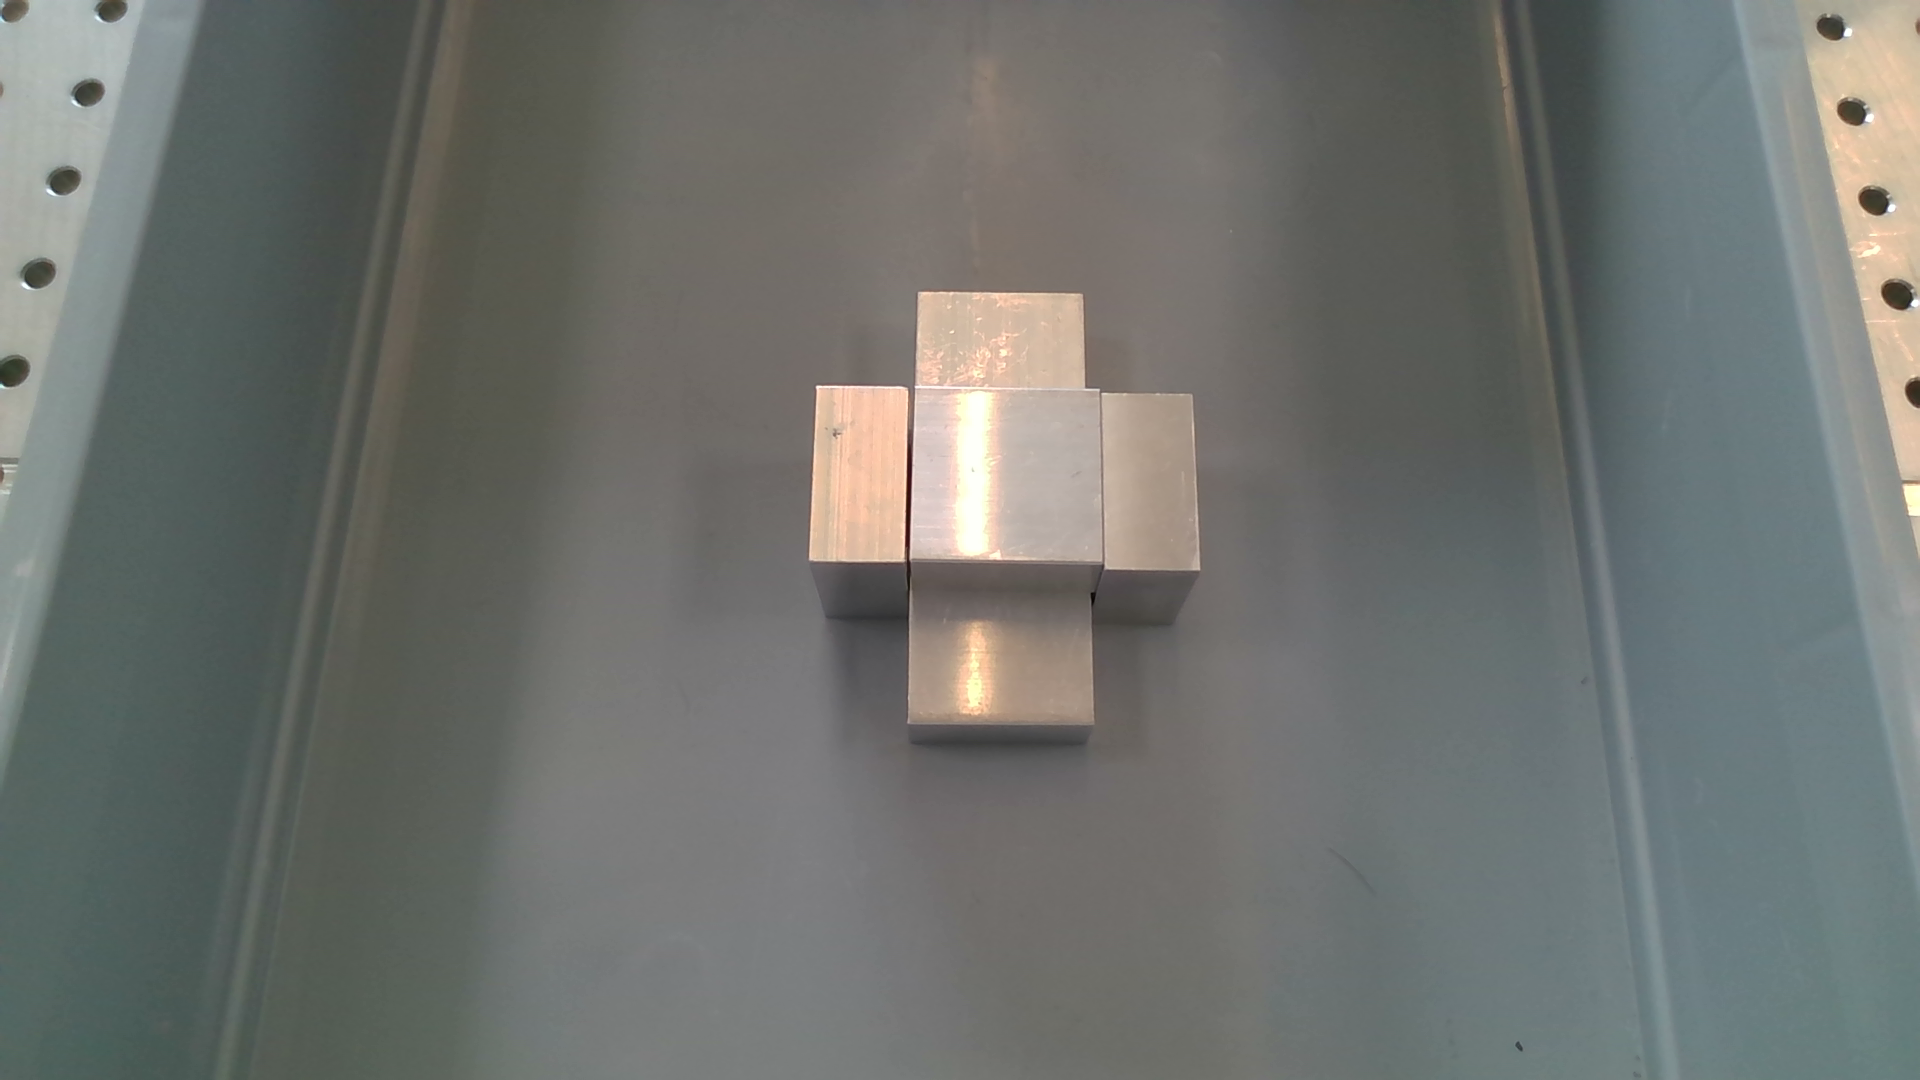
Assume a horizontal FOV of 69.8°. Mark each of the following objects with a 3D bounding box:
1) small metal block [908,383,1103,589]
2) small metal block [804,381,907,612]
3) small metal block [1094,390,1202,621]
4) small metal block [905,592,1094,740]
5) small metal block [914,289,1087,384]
[{"bbox_3d":[0.012,-0.014,0.372,0.050,0.025,0.050,1,71,0],"label":"small metal block"},{"bbox_3d":[-0.027,-0.010,0.383,0.025,0.050,0.050,1,71,0],"label":"small metal block"},{"bbox_3d":[0.050,-0.008,0.383,0.025,0.050,0.050,1,71,0],"label":"small metal block"},{"bbox_3d":[0.011,0.029,0.384,0.050,0.025,0.050,1,71,0],"label":"small metal block"},{"bbox_3d":[0.012,-0.046,0.410,0.050,0.025,0.050,1,70,0],"label":"small metal block"}]
